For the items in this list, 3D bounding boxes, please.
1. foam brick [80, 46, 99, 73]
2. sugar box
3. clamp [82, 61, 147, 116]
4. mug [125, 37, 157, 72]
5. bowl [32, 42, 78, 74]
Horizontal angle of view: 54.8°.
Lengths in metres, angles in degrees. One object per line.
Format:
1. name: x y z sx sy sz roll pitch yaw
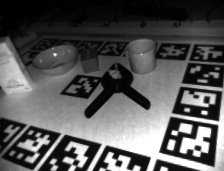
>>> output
1. foam brick: -0.074 -0.089 0.732 0.052 0.052 0.077 -12 41 6
2. sugar box: -0.323 -0.057 0.664 0.092 0.178 0.045 -9 42 5
3. clamp: 0.006 -0.007 0.608 0.165 0.037 0.202 -9 41 9
4. mug: 0.083 -0.101 0.664 0.094 0.082 0.115 -36 48 -23
5. bowl: -0.190 -0.091 0.758 0.161 0.055 0.161 -7 41 7
